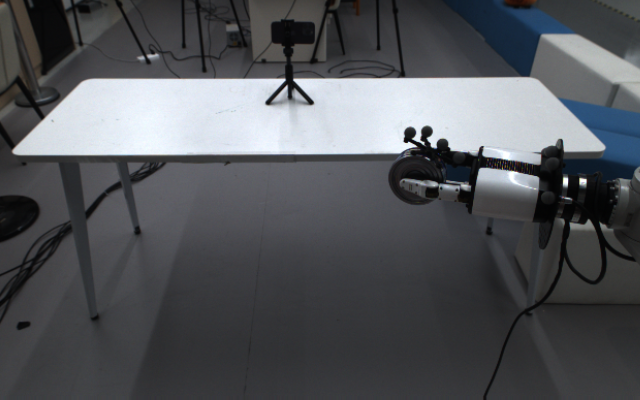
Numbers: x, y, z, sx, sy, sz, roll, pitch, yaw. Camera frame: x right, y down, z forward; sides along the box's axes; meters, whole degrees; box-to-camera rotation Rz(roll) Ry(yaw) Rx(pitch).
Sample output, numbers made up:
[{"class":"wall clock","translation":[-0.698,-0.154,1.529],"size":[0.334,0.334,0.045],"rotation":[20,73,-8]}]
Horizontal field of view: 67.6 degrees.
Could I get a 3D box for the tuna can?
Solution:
[{"class":"tuna can","translation":[0.153,-0.029,0.742],"size":[0.085,0.085,0.034],"rotation":[15,31,18]}]
